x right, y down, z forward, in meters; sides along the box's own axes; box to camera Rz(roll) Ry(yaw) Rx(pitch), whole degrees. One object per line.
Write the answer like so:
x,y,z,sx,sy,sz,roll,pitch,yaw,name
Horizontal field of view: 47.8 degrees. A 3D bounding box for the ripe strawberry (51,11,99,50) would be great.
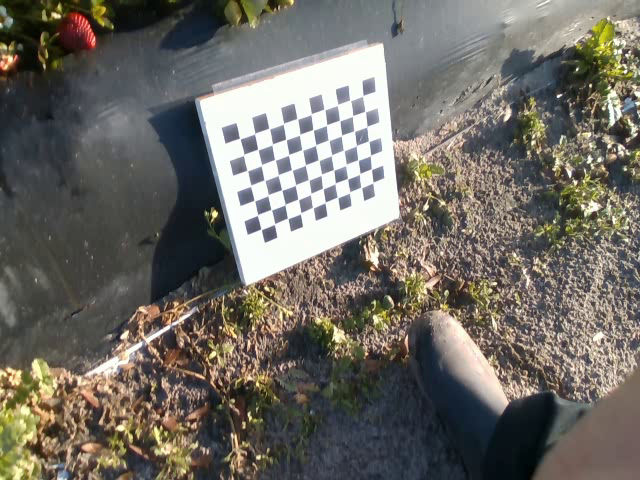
-0.281,-0.233,0.850,0.051,0.052,0.041,36,-9,20,ripe strawberry
